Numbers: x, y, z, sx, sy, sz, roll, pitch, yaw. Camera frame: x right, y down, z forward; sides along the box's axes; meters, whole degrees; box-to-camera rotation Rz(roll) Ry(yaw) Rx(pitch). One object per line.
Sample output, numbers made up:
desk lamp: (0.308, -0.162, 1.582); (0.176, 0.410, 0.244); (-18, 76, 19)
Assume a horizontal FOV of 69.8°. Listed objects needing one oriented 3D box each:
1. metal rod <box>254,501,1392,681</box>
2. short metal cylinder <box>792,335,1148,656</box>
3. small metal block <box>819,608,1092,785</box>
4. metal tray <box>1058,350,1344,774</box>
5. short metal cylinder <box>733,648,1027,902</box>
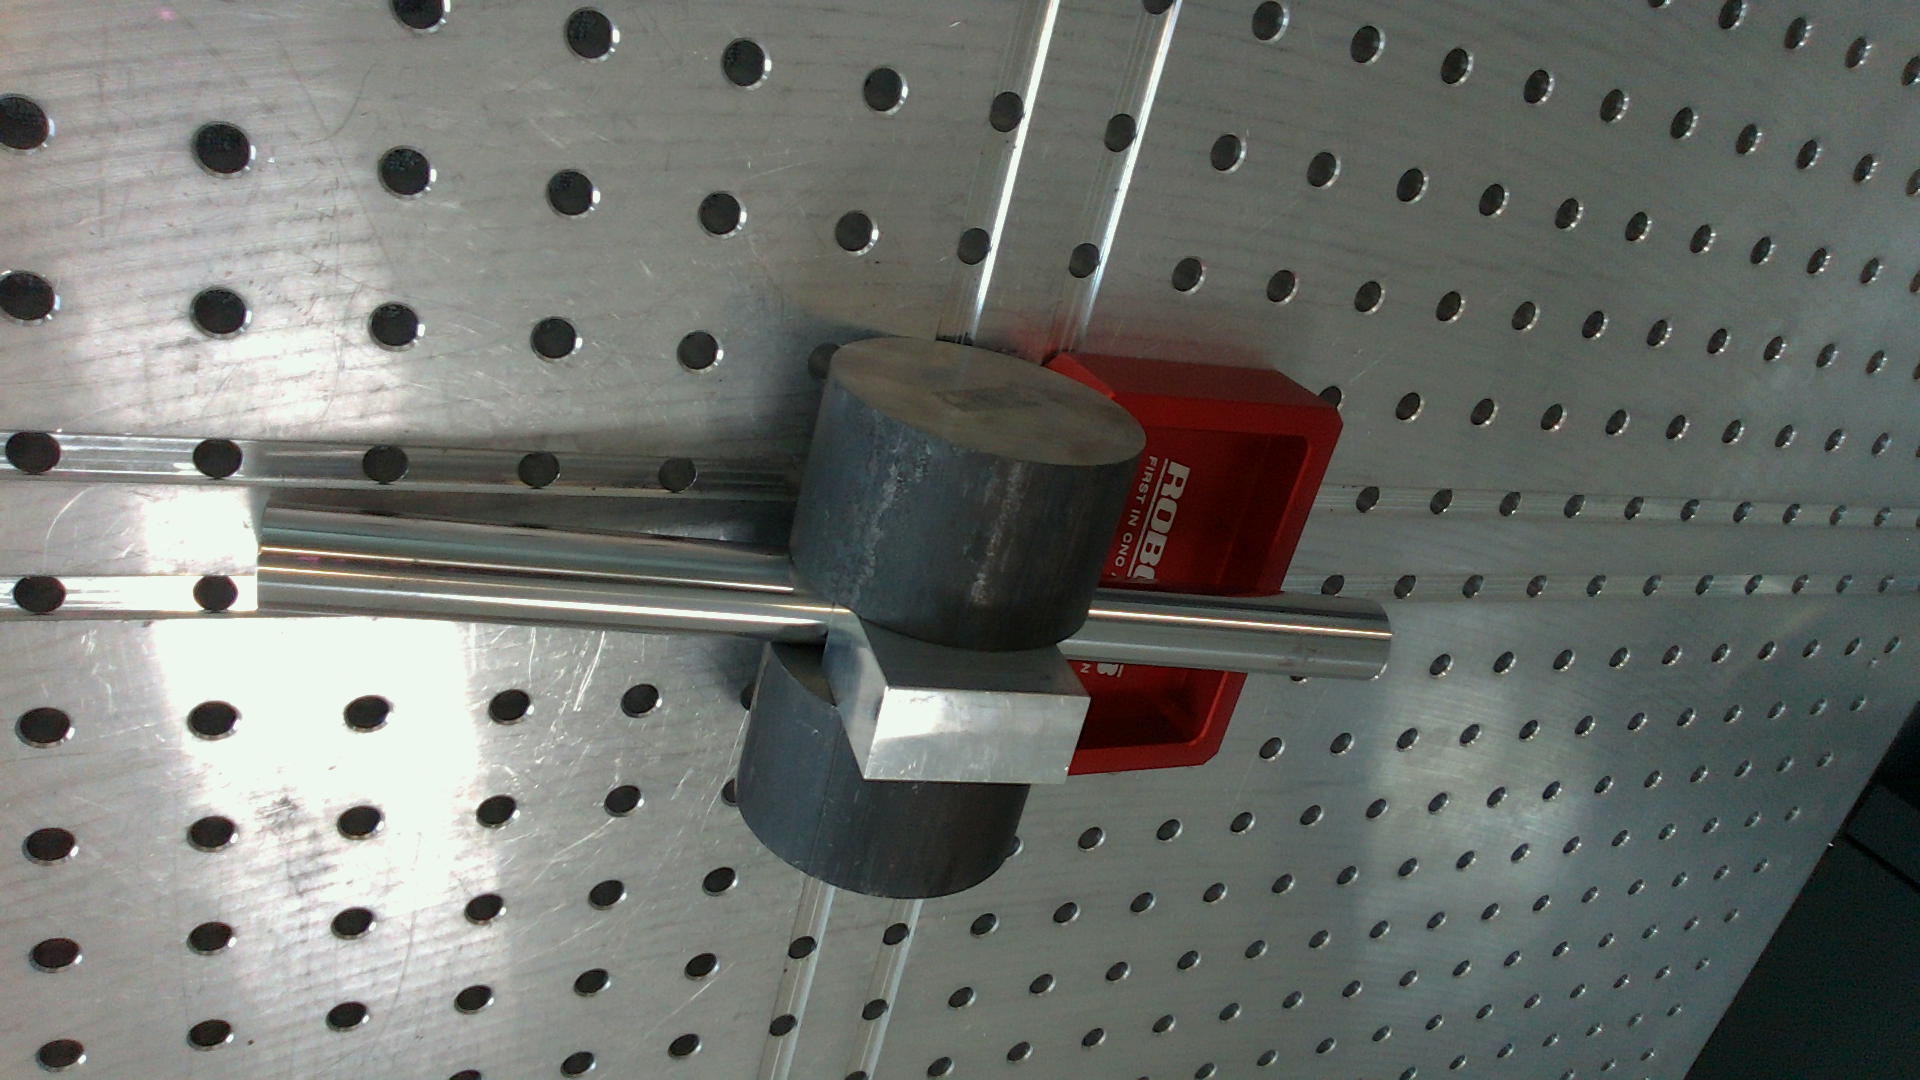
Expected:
metal rod: (-0.017, 0.017, 0.363); (0.301, 0.025, 0.025); (5, 116, -21)
short metal cylinder: (0.002, -0.013, 0.347); (0.080, 0.080, 0.050); (1, 118, -29)
small metal block: (-0.003, 0.033, 0.334); (0.050, 0.050, 0.025); (5, 116, -21)
metal tray: (0.055, 0.011, 0.425); (0.090, 0.030, 0.130); (1, 118, -29)
short metal cylinder: (-0.018, 0.053, 0.379); (0.080, 0.080, 0.050); (1, 118, -29)
